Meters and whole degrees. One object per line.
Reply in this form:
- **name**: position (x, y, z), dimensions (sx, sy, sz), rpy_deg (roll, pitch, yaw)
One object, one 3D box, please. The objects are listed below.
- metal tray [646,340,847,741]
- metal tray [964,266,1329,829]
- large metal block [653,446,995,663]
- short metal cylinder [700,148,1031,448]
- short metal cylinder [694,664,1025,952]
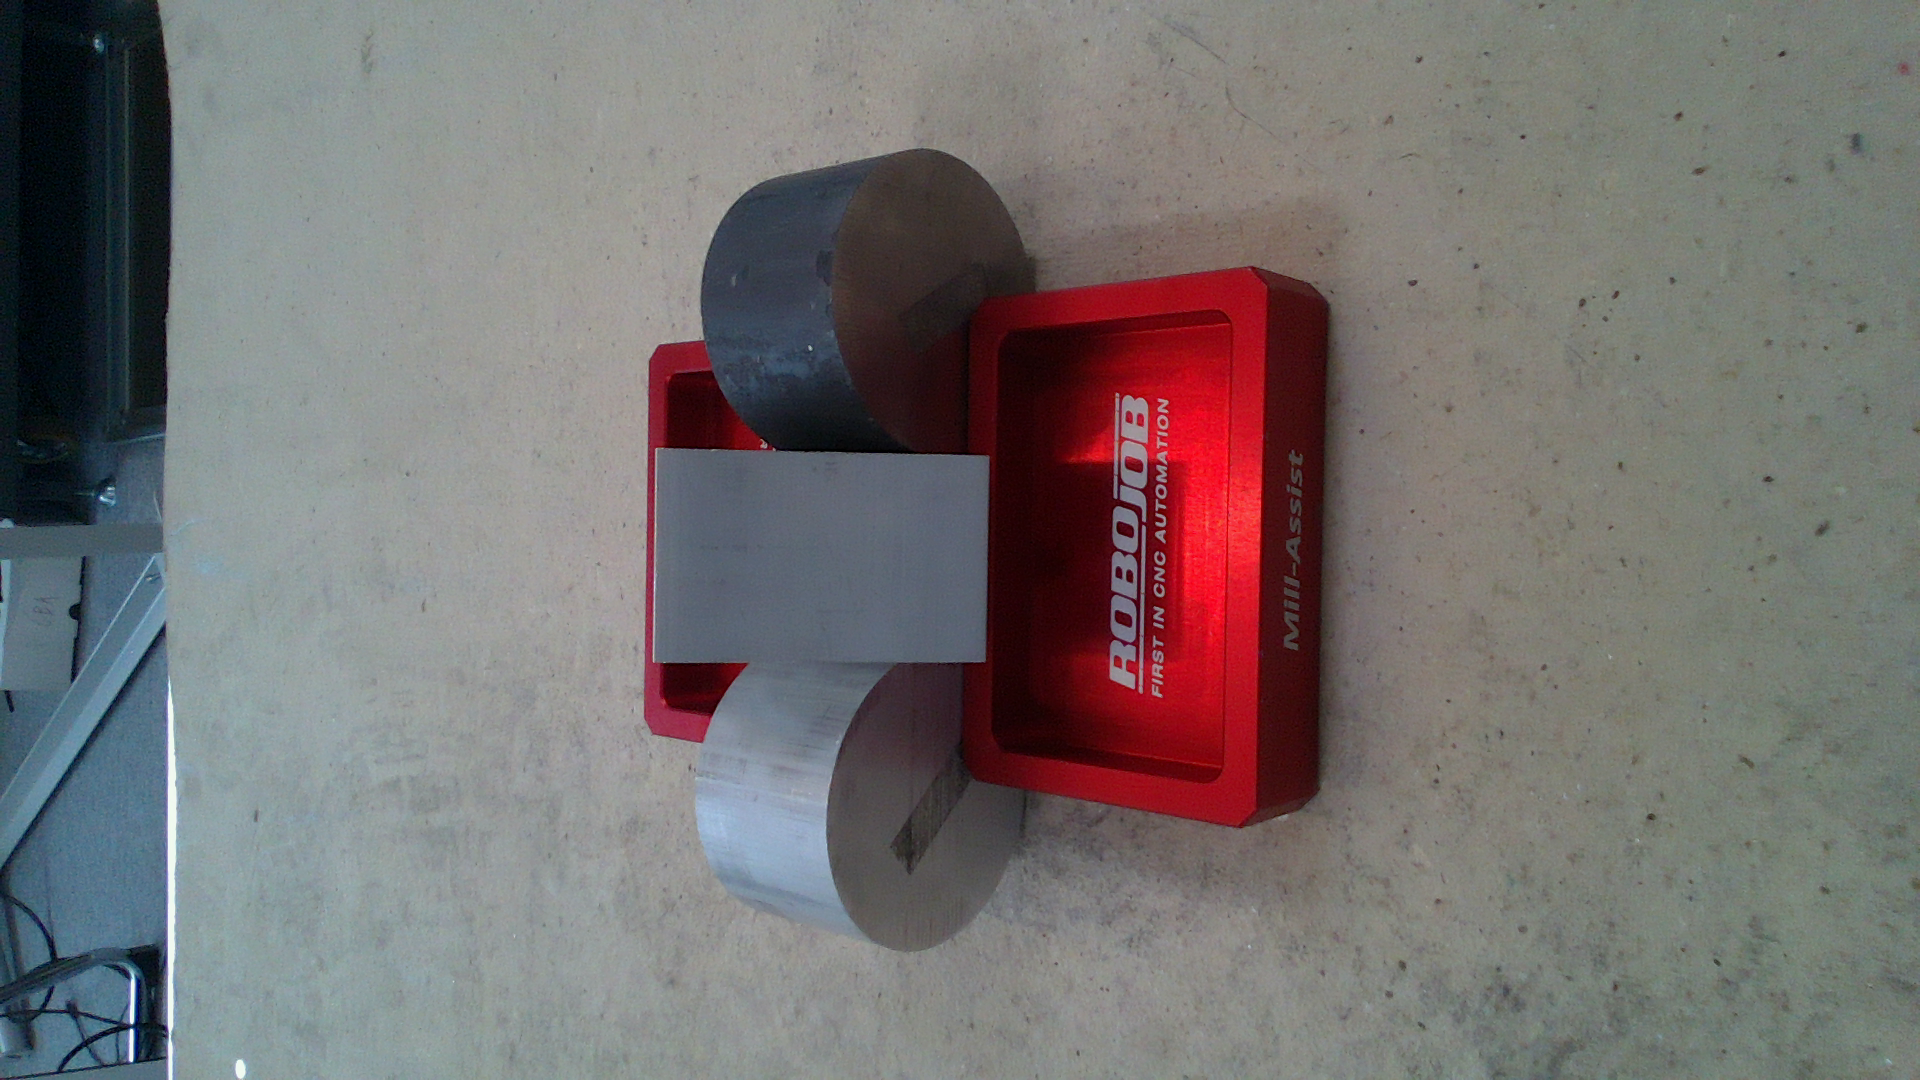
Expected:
- **metal tray**: position (-0.061, 0.001, 0.443), dimensions (0.090, 0.030, 0.130), rpy_deg (2, 91, 40)
- **metal tray**: position (0.045, 0.001, 0.354), dimensions (0.090, 0.030, 0.130), rpy_deg (2, 91, 40)
- **large metal block**: position (-0.038, 0.003, 0.364), dimensions (0.080, 0.080, 0.050), rpy_deg (-171, 82, -80)
- **short metal cylinder**: position (-0.024, -0.063, 0.379), dimensions (0.050, 0.080, 0.080), rpy_deg (3, 92, 40)
- **short metal cylinder**: position (-0.026, 0.068, 0.381), dimensions (0.050, 0.080, 0.080), rpy_deg (3, 92, 40)
